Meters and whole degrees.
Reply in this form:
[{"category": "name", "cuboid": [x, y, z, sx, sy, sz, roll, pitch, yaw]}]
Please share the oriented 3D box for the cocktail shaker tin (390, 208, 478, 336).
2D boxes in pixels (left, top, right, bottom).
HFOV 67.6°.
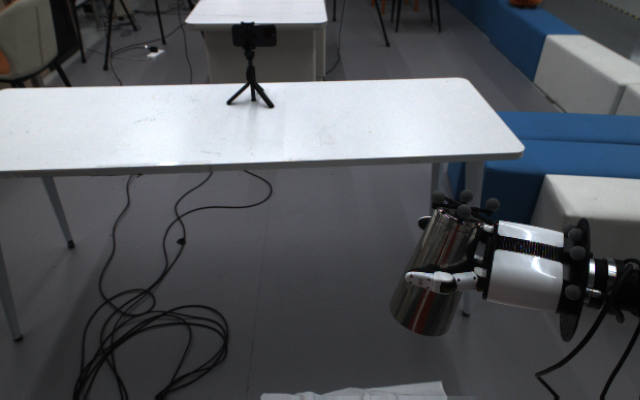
[{"category": "cocktail shaker tin", "cuboid": [0.167, 0.089, 0.672, 0.093, 0.170, 0.093, 12, 24, -5]}]
